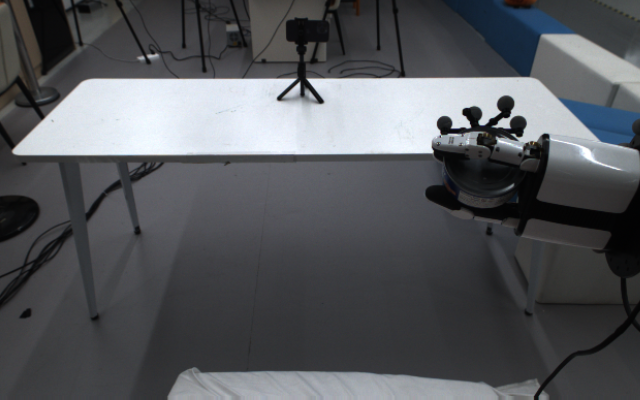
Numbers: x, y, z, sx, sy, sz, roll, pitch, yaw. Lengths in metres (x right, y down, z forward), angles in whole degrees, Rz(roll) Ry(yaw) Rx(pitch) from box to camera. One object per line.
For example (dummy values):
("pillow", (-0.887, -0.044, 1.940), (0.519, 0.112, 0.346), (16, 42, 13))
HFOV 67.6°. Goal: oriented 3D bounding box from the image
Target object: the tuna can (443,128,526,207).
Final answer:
("tuna can", (0.177, -0.037, 0.525), (0.085, 0.034, 0.085), (-4, 61, 7))
